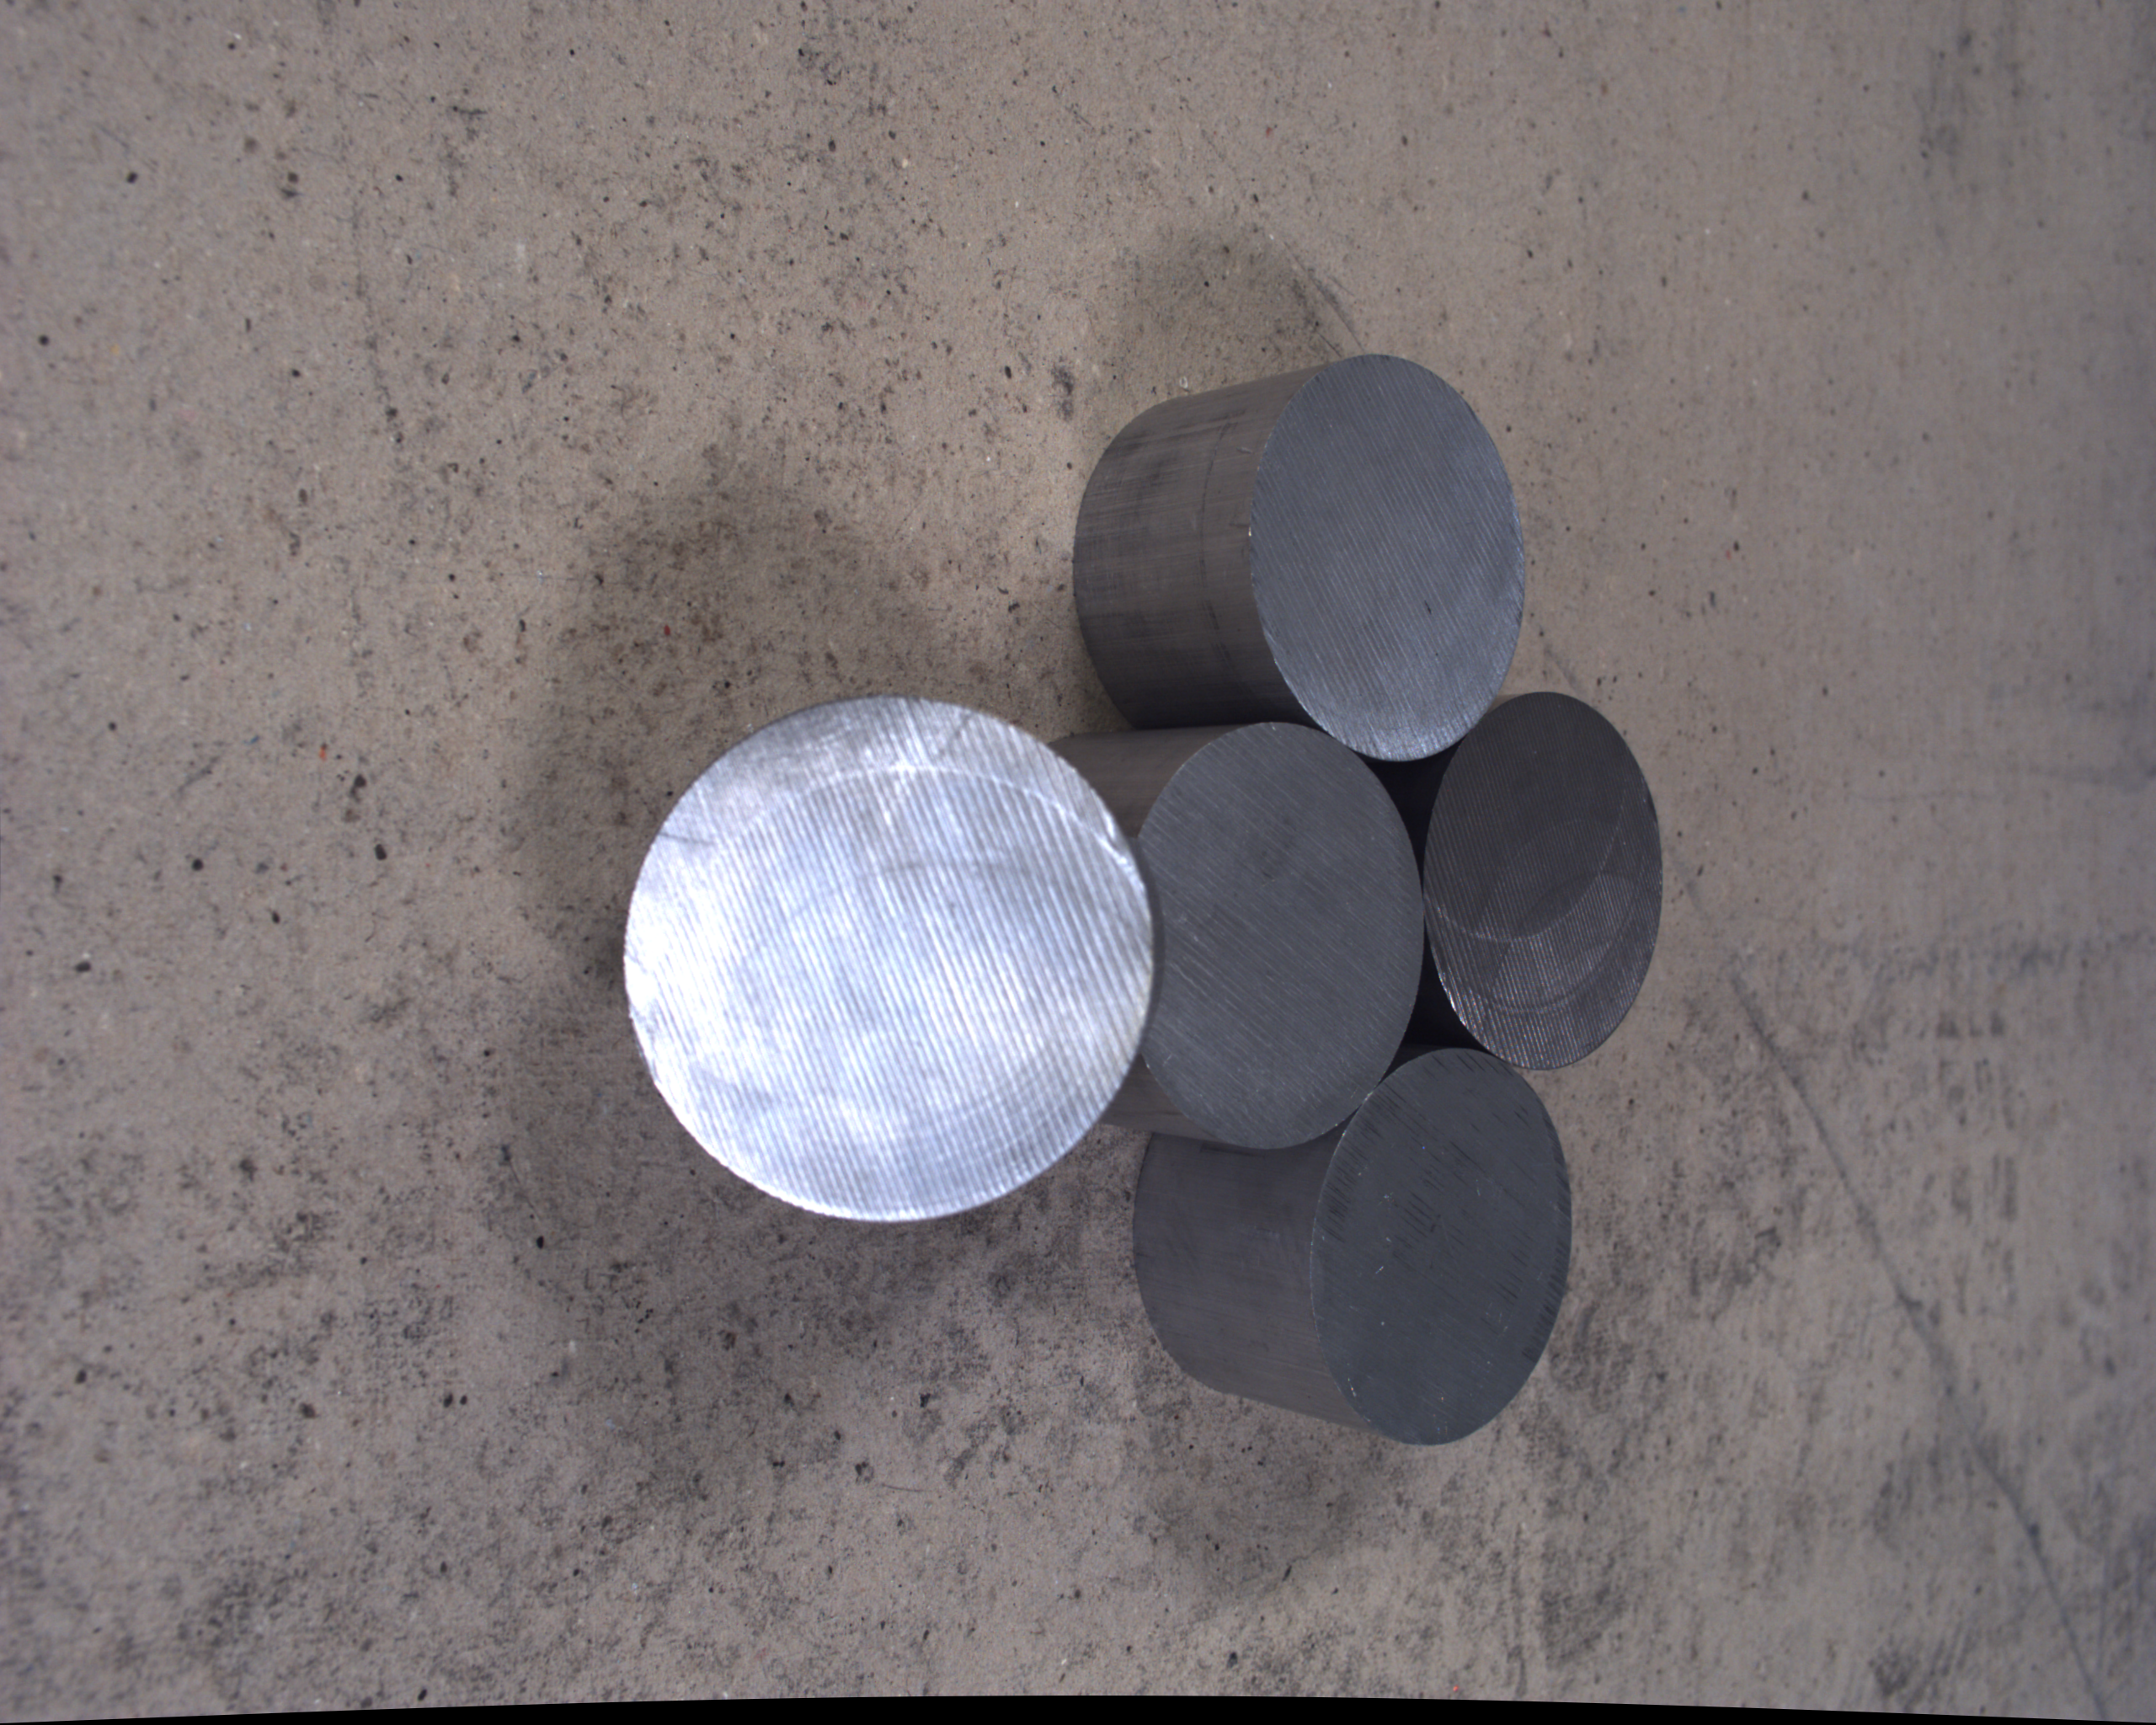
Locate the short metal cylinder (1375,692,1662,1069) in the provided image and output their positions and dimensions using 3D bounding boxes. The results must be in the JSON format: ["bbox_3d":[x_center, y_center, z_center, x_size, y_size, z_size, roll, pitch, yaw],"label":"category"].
[{"bbox_3d":[0.084,0.004,0.460,0.081,0.050,0.080,0,90,-40],"label":"short metal cylinder"}]

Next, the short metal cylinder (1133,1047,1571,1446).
[{"bbox_3d":[0.058,0.077,0.439,0.081,0.050,0.080,0,90,-40],"label":"short metal cylinder"}]

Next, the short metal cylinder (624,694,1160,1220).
[{"bbox_3d":[-0.027,0.015,0.340,0.080,0.050,0.080,0,89,4],"label":"short metal cylinder"}]

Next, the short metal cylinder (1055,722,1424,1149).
[{"bbox_3d":[0.022,0.013,0.408,0.081,0.050,0.080,0,90,-40],"label":"short metal cylinder"}]

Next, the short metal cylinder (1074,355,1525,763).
[{"bbox_3d":[0.046,-0.060,0.428,0.081,0.050,0.080,0,90,-40],"label":"short metal cylinder"}]
